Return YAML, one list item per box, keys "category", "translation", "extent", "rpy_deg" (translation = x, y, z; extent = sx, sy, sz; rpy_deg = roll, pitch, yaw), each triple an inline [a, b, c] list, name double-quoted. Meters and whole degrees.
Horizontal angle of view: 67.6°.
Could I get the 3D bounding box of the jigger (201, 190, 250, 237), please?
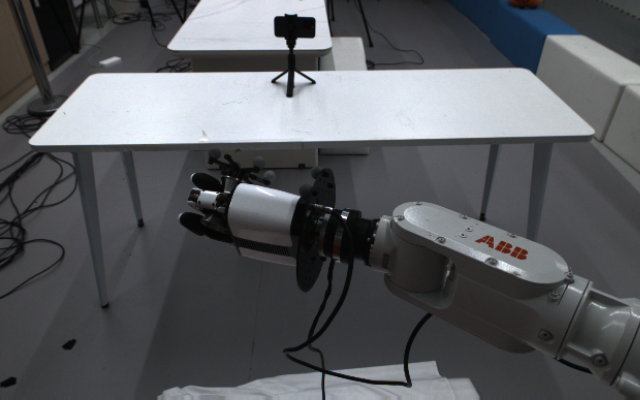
- category: "jigger"
  translation: [-0.124, 0.007, 0.648]
  extent: [0.043, 0.043, 0.071]
  rpy_deg: [13, 70, 16]
